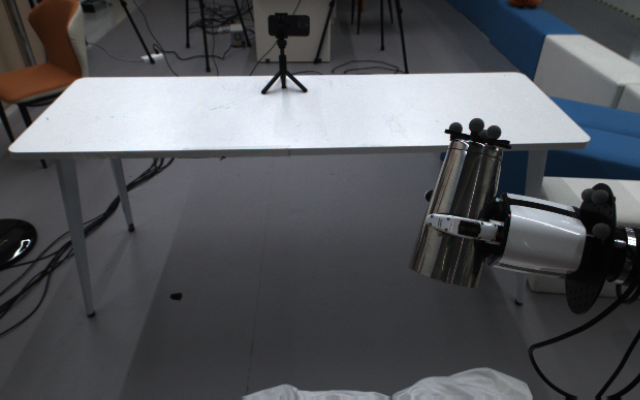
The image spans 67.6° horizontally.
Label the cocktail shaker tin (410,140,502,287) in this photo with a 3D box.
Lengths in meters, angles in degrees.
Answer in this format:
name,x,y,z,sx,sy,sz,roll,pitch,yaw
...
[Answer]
name,x,y,z,sx,sy,sz,roll,pitch,yaw
cocktail shaker tin,0.179,0.014,0.615,0.093,0.170,0.093,13,4,-1
